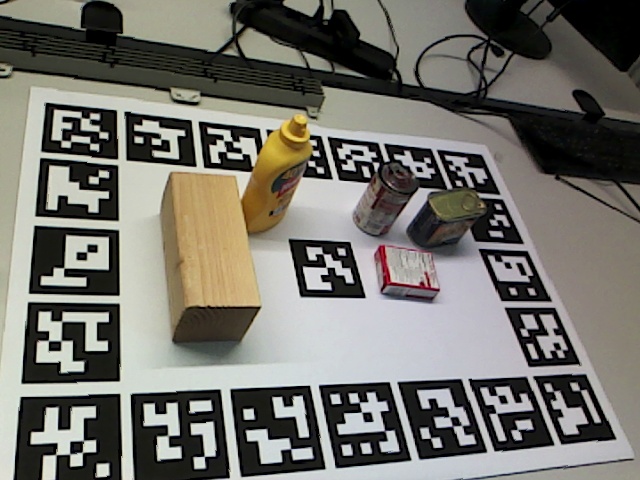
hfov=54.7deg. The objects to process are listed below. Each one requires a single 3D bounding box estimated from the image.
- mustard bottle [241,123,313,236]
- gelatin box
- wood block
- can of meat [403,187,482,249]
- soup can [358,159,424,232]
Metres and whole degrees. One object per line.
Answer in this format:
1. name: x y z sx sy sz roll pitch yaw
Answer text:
1. mustard bottle: -0.059 -0.087 0.859 0.096 0.191 0.058 -23 65 -38
2. gelatin box: 0.136 0.051 0.932 0.089 0.030 0.073 9 52 -14
3. wood block: -0.143 0.021 0.796 0.090 0.090 0.207 4 48 -24
4. can of meat: 0.195 -0.034 0.998 0.101 0.084 0.058 -9 59 -33
5. soup can: 0.107 -0.067 0.960 0.067 0.102 0.068 12 51 -15
